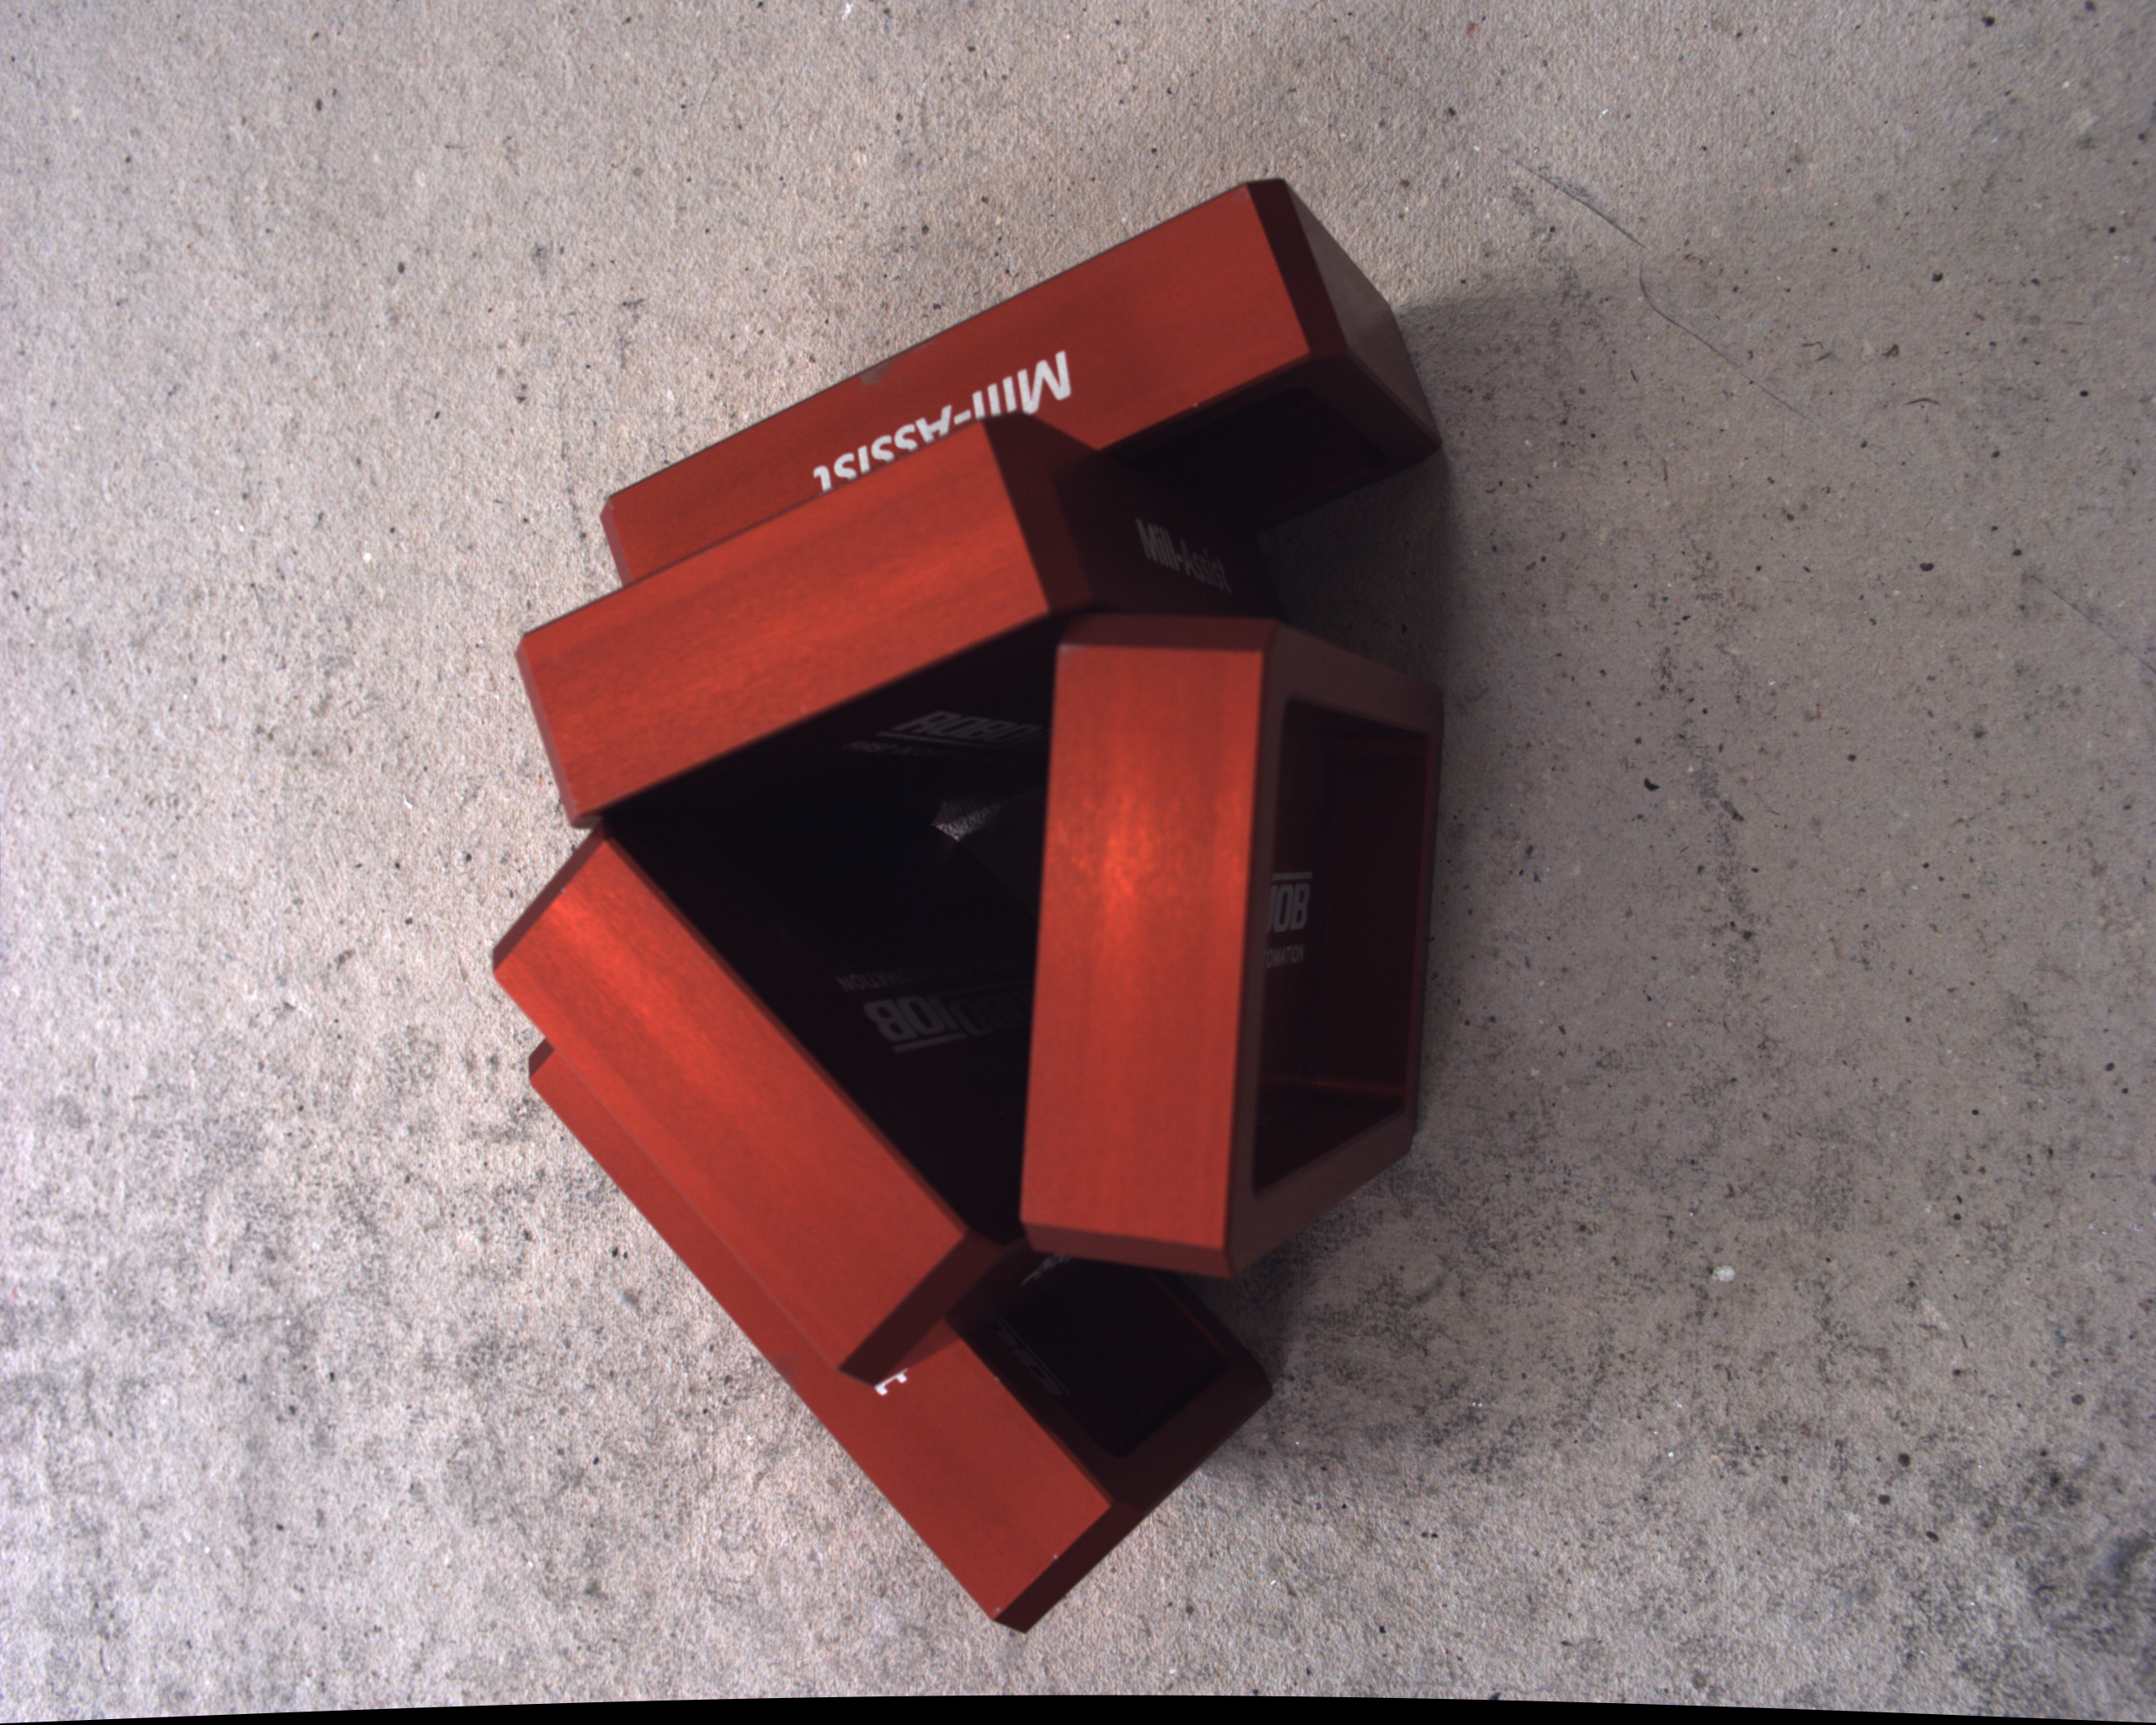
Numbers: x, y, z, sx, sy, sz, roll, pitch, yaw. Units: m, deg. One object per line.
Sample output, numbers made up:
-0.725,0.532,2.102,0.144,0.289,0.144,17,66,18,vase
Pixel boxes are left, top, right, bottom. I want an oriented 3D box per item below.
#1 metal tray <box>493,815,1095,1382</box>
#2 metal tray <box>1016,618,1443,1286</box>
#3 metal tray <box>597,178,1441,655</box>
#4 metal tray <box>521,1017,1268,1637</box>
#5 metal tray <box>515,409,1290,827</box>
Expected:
-0.030,0.034,0.364,0.090,0.130,0.030,45,104,14,metal tray
0.031,0.011,0.343,0.030,0.130,0.089,5,92,20,metal tray
-0.007,-0.070,0.378,0.130,0.090,0.030,-21,83,18,metal tray
-0.030,0.069,0.385,0.130,0.090,0.030,45,105,14,metal tray
-0.022,-0.035,0.361,0.090,0.130,0.030,-21,83,19,metal tray
